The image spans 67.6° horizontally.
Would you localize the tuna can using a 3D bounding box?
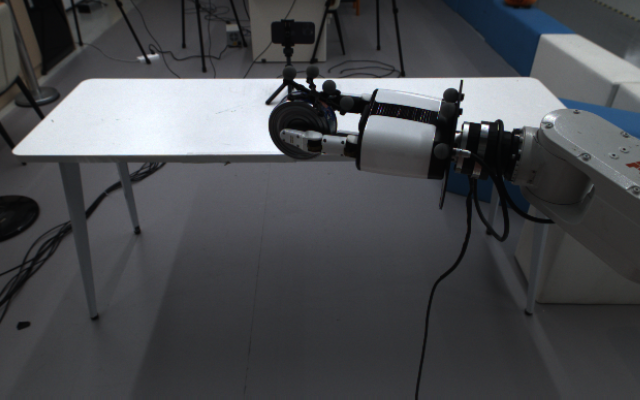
[{"bbox_3d":[-0.022,-0.097,0.630,0.085,0.085,0.034,12,35,14],"label":"tuna can"}]
